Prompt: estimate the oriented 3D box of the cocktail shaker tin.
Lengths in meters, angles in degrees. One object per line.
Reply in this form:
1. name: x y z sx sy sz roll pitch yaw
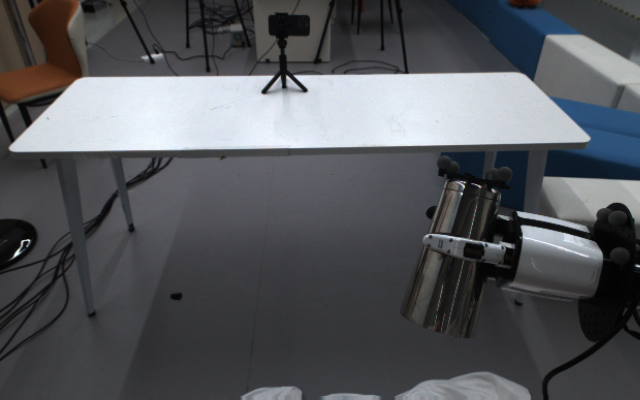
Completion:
1. cocktail shaker tin: 0.162 0.065 0.581 0.093 0.170 0.093 14 2 0
